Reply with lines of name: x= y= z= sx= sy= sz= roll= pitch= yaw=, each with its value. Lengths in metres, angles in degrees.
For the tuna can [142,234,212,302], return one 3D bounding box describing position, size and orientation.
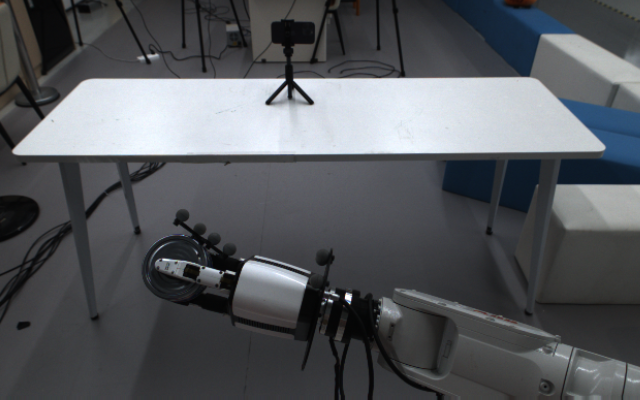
tuna can: x=-0.182 y=0.089 z=0.628 sx=0.085 sy=0.034 sz=0.085 roll=0 pitch=74 yaw=-1
